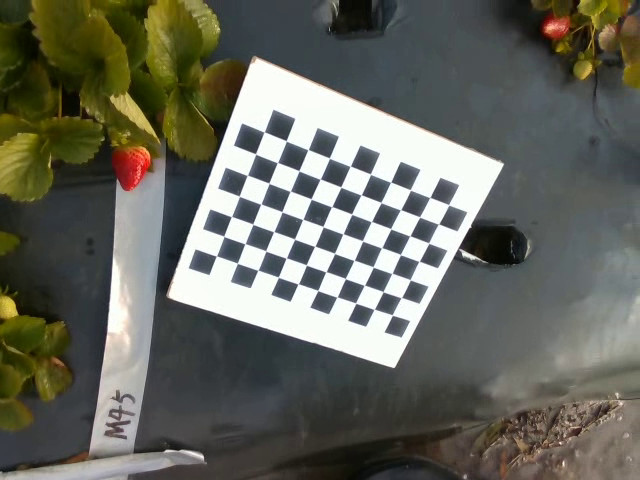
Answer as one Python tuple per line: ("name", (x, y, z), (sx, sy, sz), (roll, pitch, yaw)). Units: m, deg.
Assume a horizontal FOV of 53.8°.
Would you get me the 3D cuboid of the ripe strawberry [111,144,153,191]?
("ripe strawberry", (-0.176, -0.066, 0.584), (0.050, 0.055, 0.035), (11, 2, -19))
